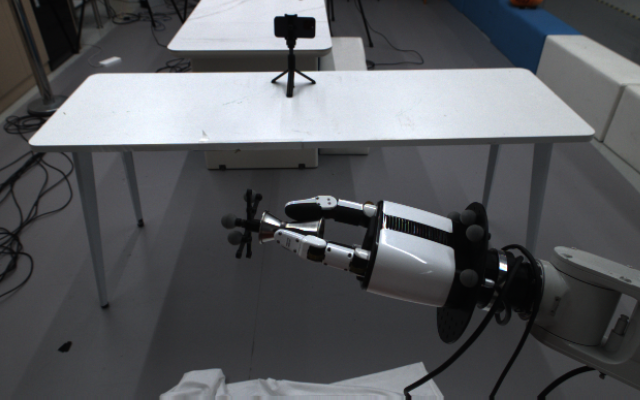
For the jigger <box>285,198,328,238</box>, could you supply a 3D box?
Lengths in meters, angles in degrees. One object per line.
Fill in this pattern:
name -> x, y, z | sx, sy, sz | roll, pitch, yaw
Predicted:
jigger -> -0.024, 0.030, 0.557 | 0.071, 0.043, 0.043 | 6, 35, 7
